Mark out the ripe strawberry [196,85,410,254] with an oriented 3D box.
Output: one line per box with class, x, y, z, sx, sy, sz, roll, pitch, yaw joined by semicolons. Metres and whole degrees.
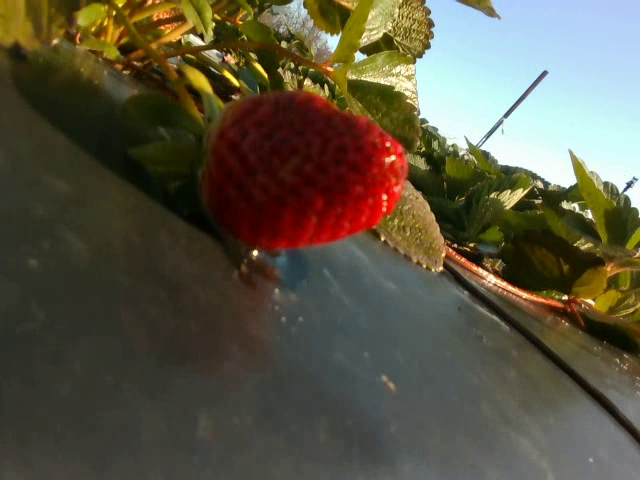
ripe strawberry;-0.002;-0.010;0.087;0.028;0.031;0.041;-9;7;-43
